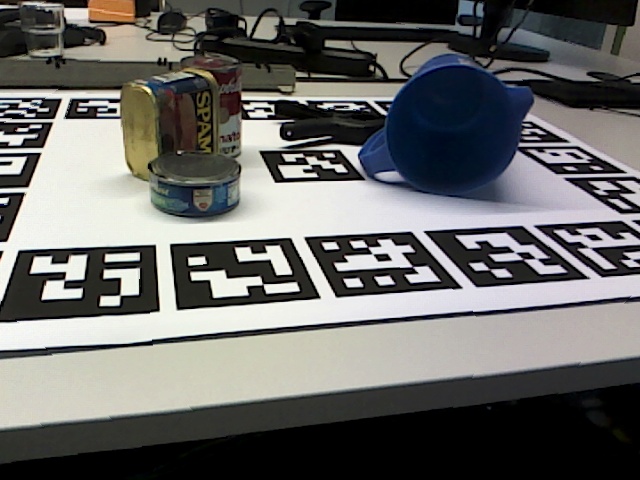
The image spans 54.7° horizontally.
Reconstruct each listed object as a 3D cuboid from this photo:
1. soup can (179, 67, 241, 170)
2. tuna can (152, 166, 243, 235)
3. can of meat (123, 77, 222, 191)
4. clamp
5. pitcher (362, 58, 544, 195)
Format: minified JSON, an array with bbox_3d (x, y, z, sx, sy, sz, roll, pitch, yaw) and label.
[{"bbox_3d":[-0.126,-0.141,0.718,0.068,0.102,0.068,2,31,-2],"label":"soup can"},{"bbox_3d":[-0.118,-0.039,0.599,0.086,0.033,0.086,4,30,-3],"label":"tuna can"},{"bbox_3d":[-0.153,-0.109,0.646,0.058,0.101,0.083,26,38,31],"label":"can of meat"},{"bbox_3d":[0.007,-0.141,0.826,0.164,0.036,0.122,1,24,-15],"label":"clamp"},{"bbox_3d":[0.149,-0.147,0.731,0.189,0.133,0.242,-13,18,14],"label":"pitcher"}]
